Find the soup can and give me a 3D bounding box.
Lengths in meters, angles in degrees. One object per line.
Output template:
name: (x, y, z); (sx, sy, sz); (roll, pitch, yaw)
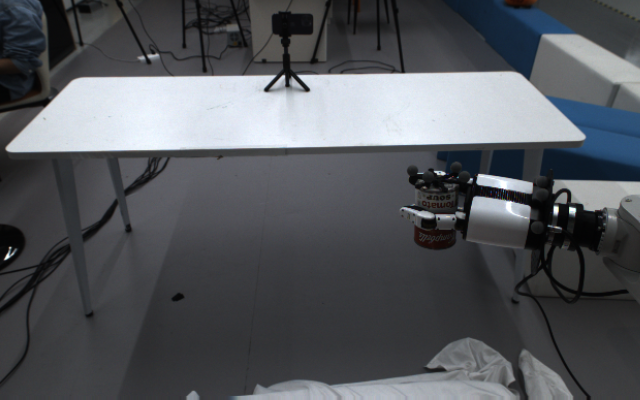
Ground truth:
soup can: (0.185, 0.018, 0.769); (0.067, 0.101, 0.067); (-3, 25, 2)
